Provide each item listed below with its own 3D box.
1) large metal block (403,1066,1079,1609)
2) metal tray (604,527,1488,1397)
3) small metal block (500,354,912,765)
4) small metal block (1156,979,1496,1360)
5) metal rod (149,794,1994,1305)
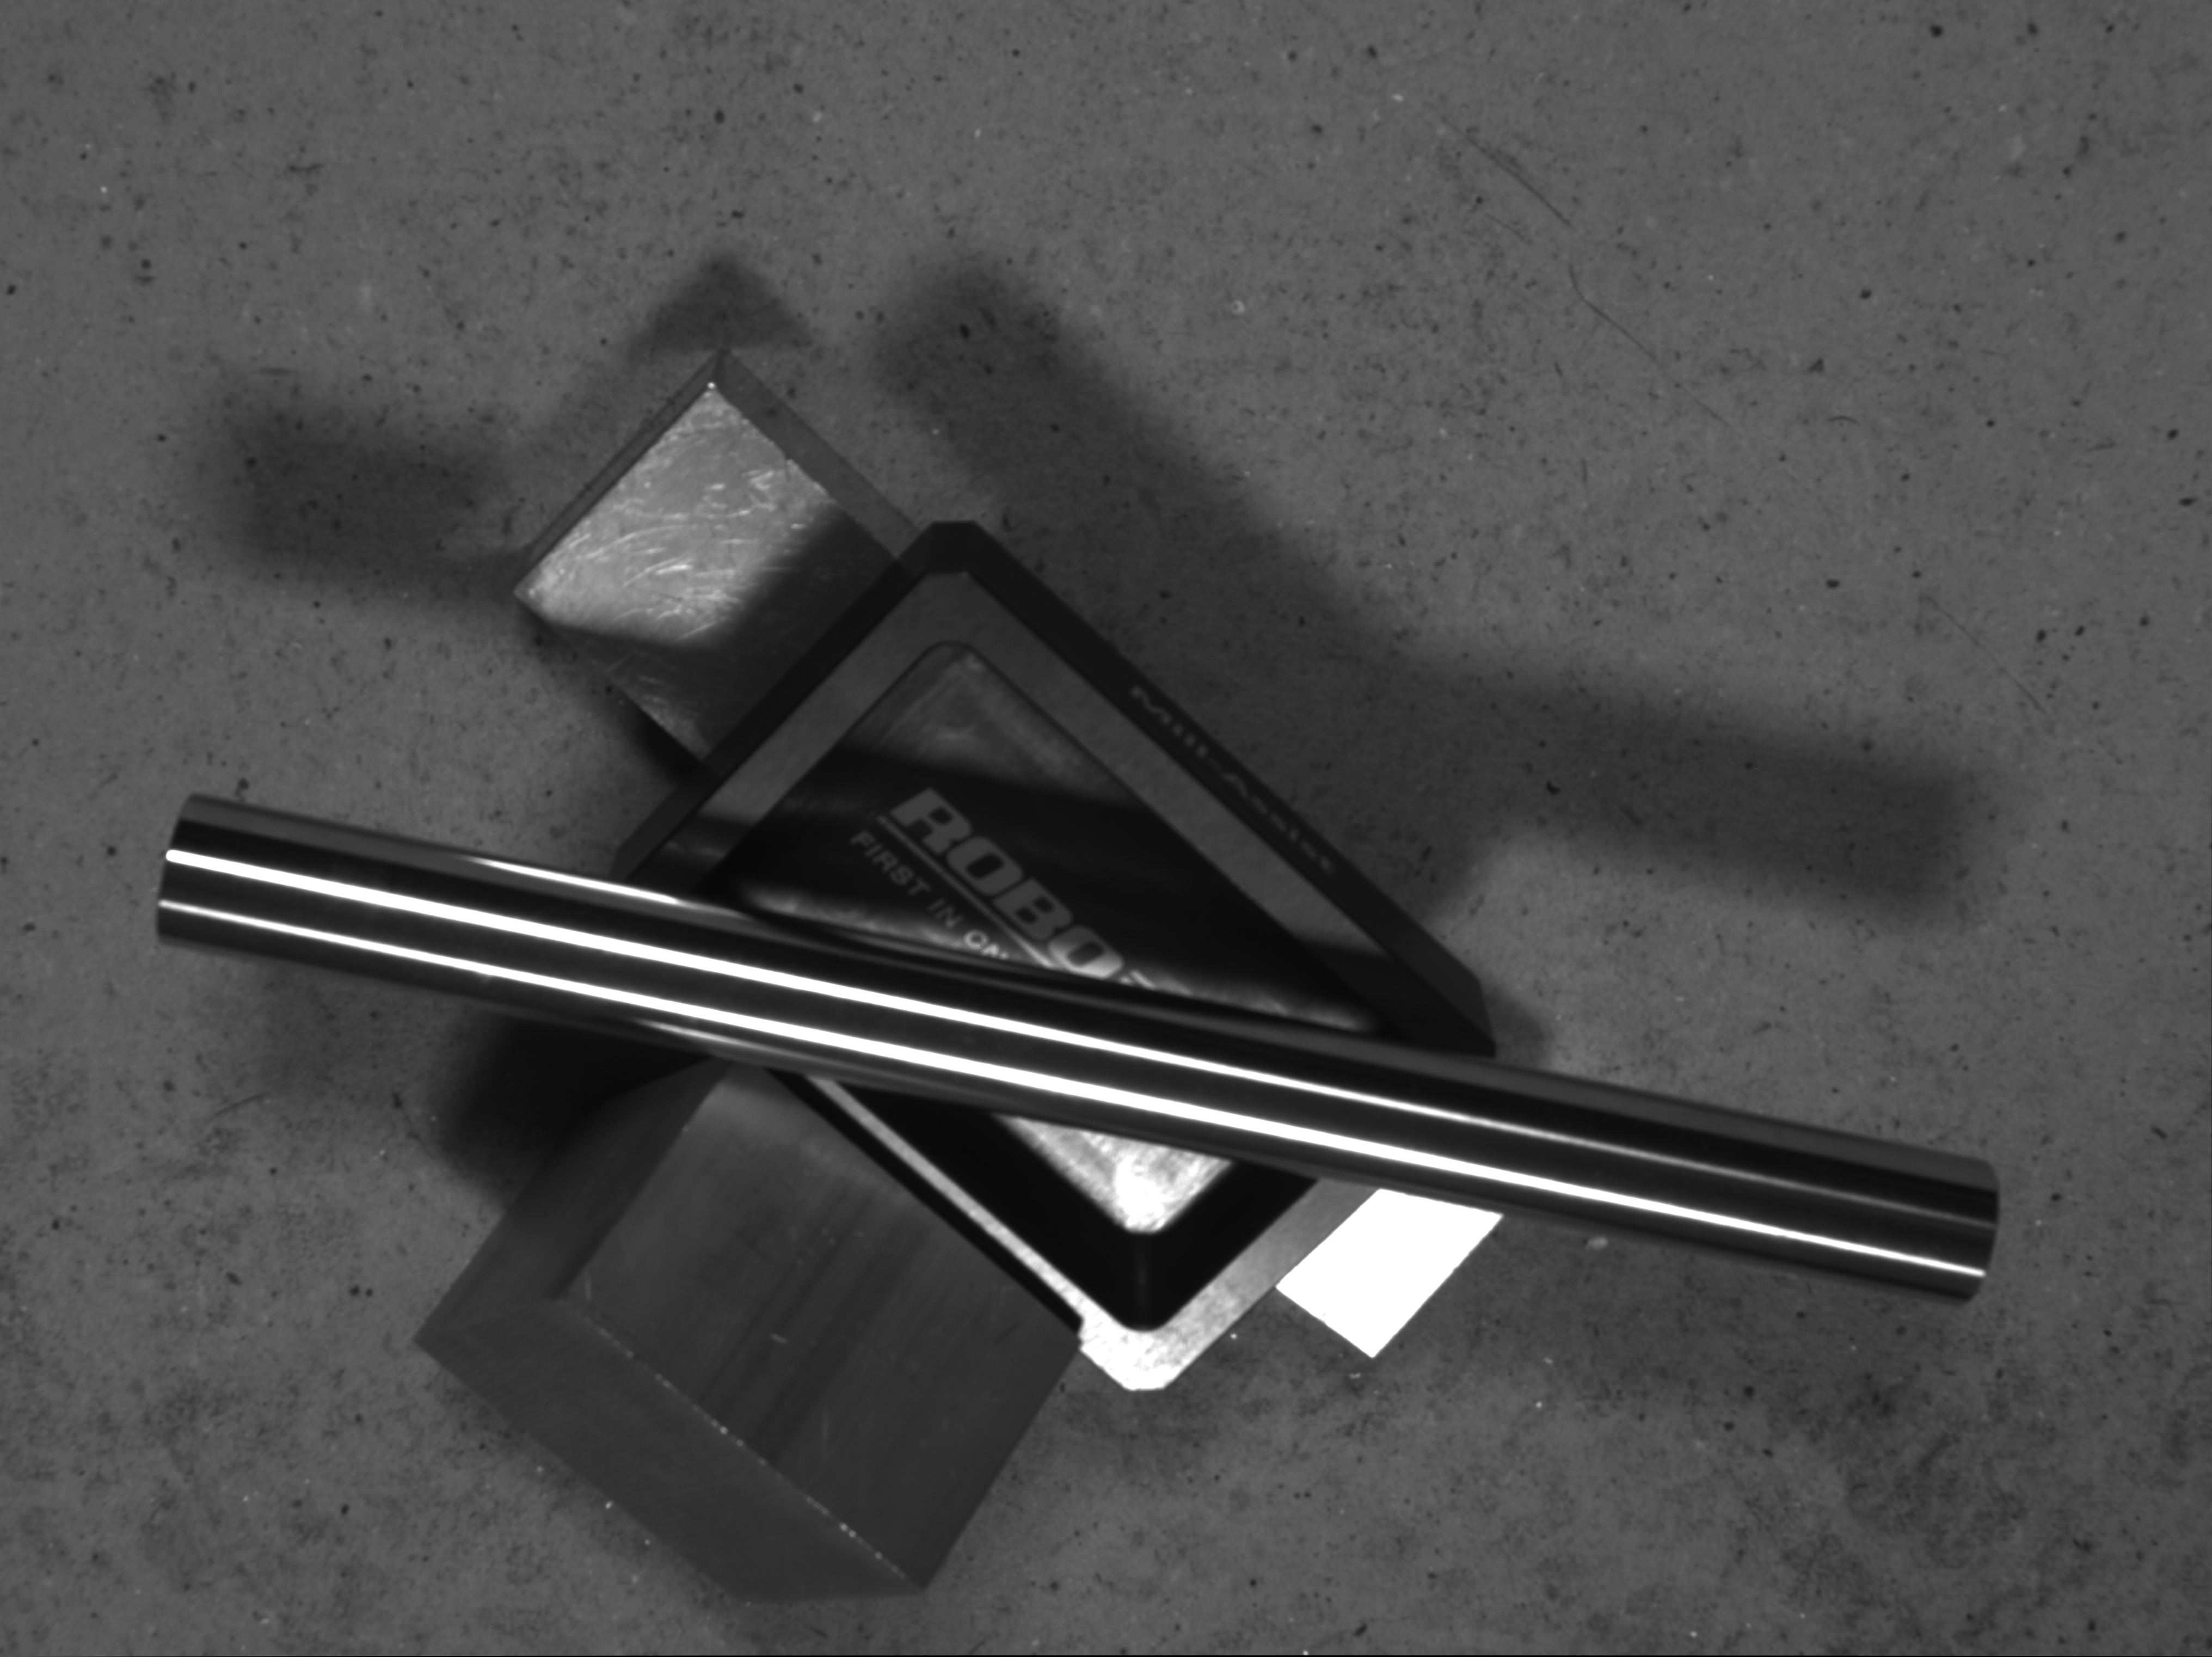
[{"bbox_3d":[-0.065,0.091,0.637,0.080,0.080,0.050,42,63,-14],"label":"large metal block"},{"bbox_3d":[-0.010,0.024,0.622,0.130,0.030,0.090,42,104,-14],"label":"metal tray"},{"bbox_3d":[-0.066,-0.044,0.626,0.050,0.025,0.050,43,104,-14],"label":"small metal block"},{"bbox_3d":[0.043,0.059,0.665,0.050,0.025,0.050,37,105,-13],"label":"small metal block"},{"bbox_3d":[-0.003,0.037,0.598,0.300,0.025,0.025,12,109,-5],"label":"metal rod"}]
